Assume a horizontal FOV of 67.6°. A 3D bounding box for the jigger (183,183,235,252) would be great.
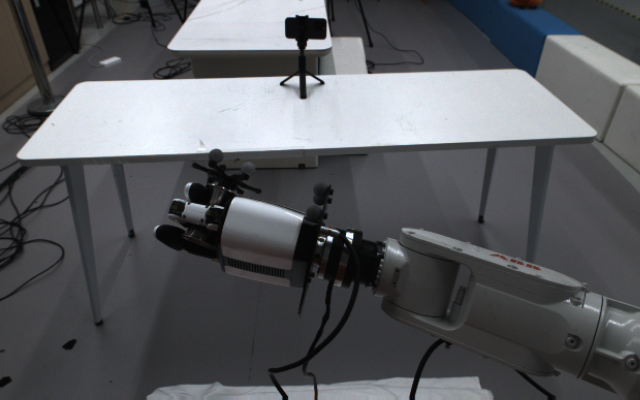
[{"bbox_3d":[-0.128,0.018,0.571,0.043,0.043,0.071,15,70,18],"label":"jigger"}]
